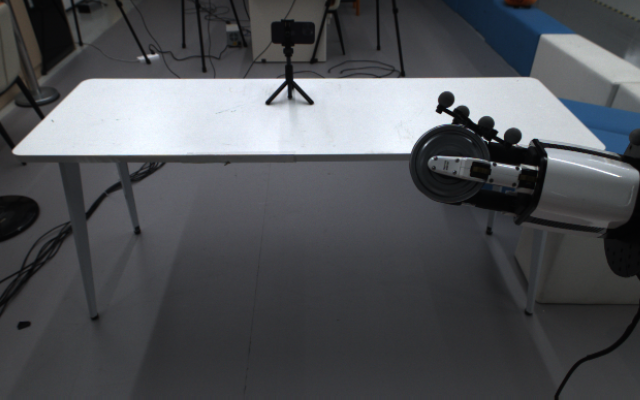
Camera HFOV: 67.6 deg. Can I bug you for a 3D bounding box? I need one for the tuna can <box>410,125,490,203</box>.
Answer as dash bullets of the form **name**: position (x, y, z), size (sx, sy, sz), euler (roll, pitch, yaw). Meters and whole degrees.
- **tuna can**: position (0.145, -0.033, 0.527), size (0.085, 0.085, 0.034), euler (13, 4, 15)
